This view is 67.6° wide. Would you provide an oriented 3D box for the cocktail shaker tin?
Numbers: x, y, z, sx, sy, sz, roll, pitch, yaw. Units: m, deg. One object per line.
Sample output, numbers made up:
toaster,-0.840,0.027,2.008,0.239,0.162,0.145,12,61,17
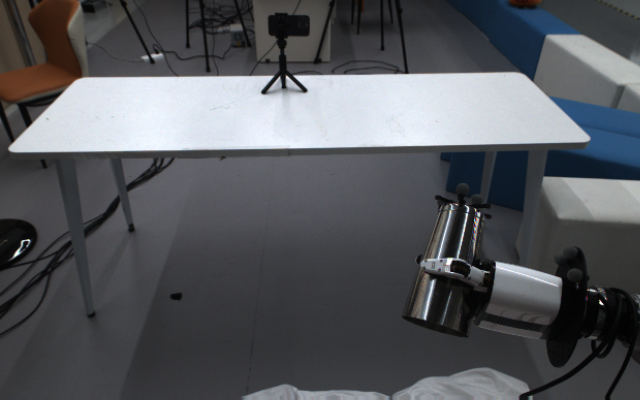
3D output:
cocktail shaker tin,0.181,0.095,0.680,0.093,0.093,0.170,14,73,17
